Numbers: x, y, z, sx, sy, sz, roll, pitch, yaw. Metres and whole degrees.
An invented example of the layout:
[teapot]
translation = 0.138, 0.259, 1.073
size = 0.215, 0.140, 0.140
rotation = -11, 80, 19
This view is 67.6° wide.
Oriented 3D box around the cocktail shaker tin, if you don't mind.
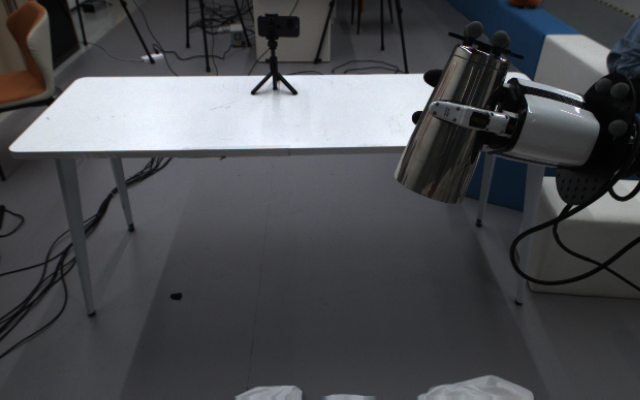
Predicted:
[cocktail shaker tin]
translation = 0.164, -0.093, 0.584
size = 0.093, 0.170, 0.093
rotation = 16, 21, -6
